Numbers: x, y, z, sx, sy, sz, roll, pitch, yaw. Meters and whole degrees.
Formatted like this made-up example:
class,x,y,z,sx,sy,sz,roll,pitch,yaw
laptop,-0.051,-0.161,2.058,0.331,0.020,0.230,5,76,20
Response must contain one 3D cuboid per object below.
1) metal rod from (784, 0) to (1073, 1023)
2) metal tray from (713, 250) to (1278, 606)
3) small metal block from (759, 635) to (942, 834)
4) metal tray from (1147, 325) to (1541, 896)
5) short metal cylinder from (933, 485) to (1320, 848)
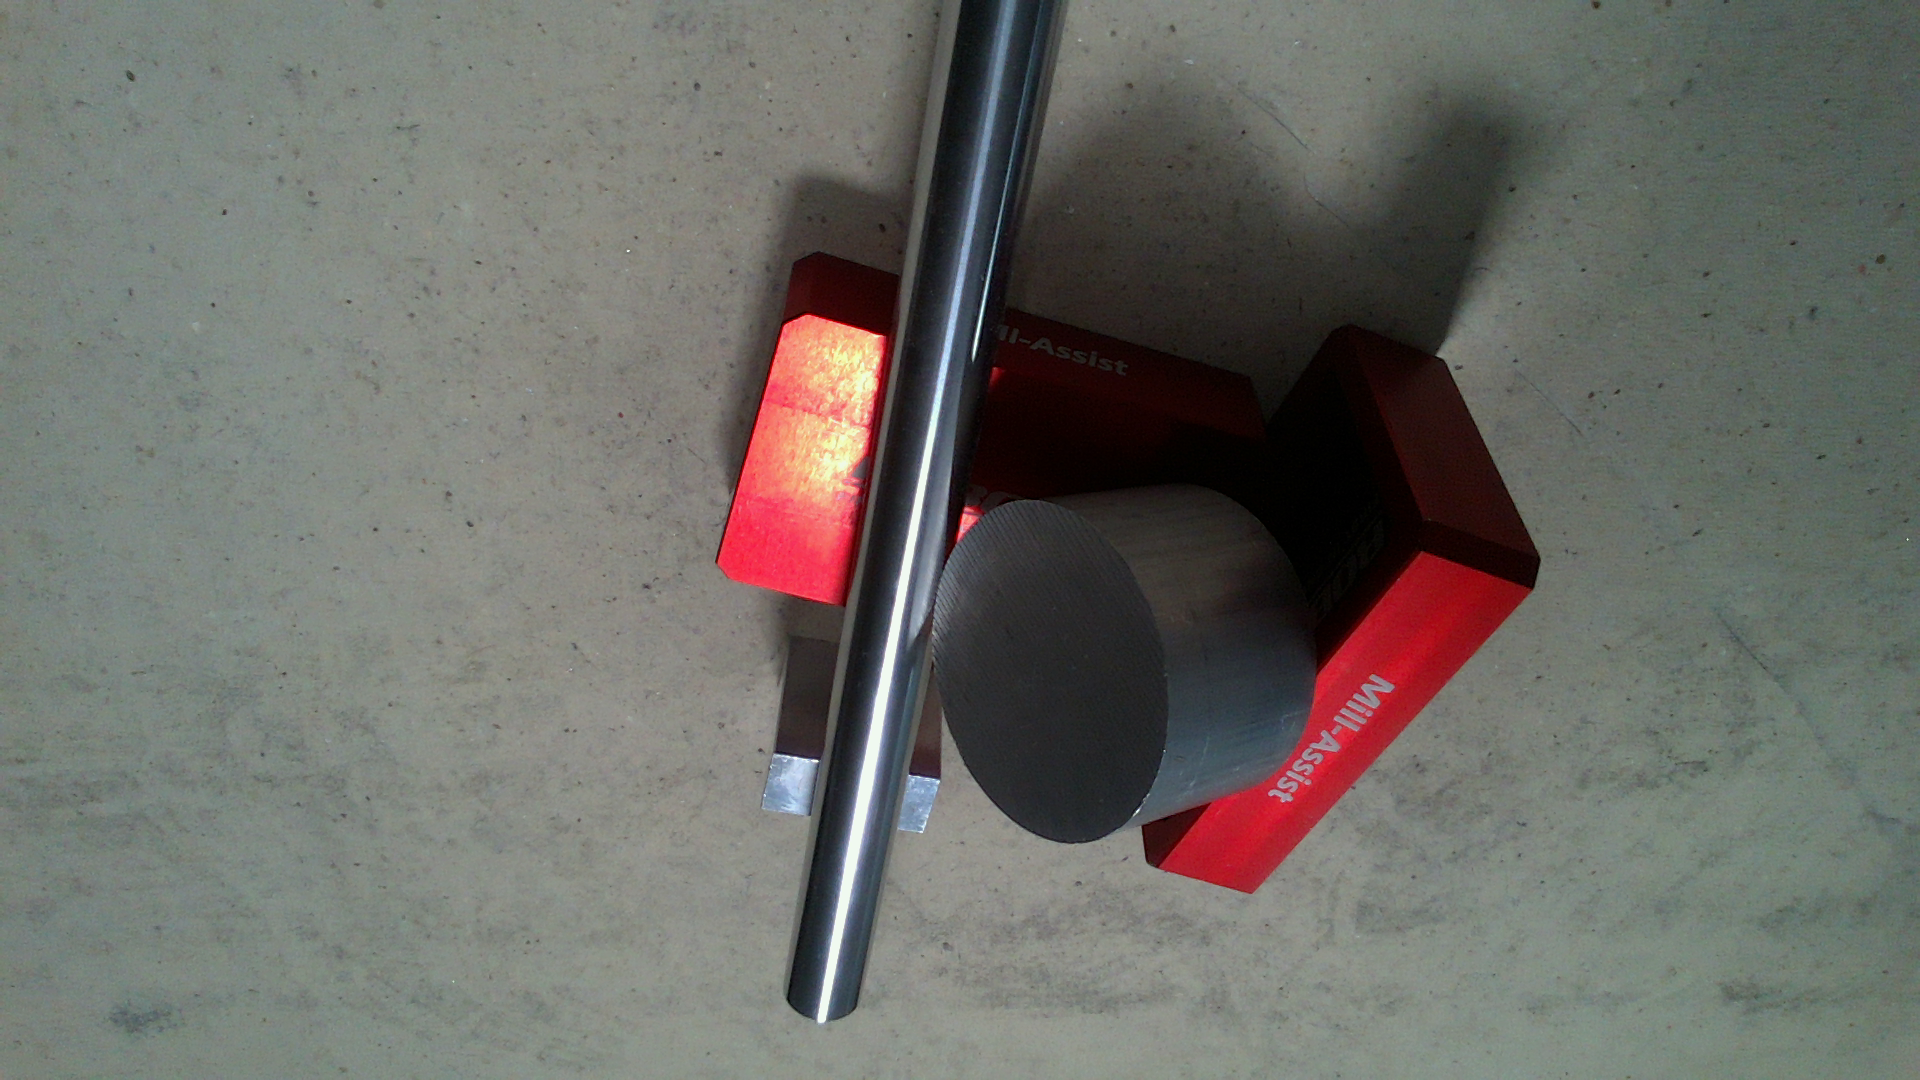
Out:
class,x,y,z,sx,sy,sz,roll,pitch,yaw
metal rod,-0.016,0.013,0.351,0.025,0.025,0.300,8,121,-7
metal tray,0.007,-0.016,0.373,0.130,0.030,0.090,14,129,-12
small metal block,-0.033,0.059,0.424,0.050,0.050,0.025,10,130,-8
metal tray,0.089,0.020,0.366,0.030,0.090,0.130,18,128,-14
short metal cylinder,0.038,0.028,0.331,0.050,0.080,0.080,-7,140,-39
